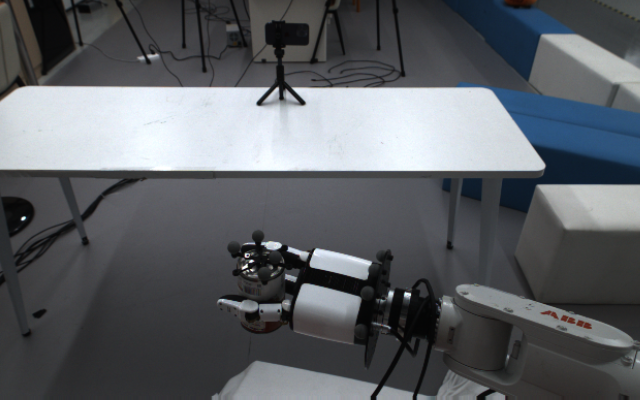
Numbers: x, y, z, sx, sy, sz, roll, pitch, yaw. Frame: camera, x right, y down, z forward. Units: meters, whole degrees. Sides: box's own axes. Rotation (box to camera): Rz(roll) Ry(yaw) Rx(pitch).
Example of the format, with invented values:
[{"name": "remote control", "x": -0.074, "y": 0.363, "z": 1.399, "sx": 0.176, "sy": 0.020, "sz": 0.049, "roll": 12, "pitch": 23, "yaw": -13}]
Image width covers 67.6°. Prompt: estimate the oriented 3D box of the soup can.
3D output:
[{"name": "soup can", "x": -0.080, "y": 0.129, "z": 0.677, "sx": 0.067, "sy": 0.101, "sz": 0.067, "roll": 2, "pitch": 32, "yaw": -1}]
